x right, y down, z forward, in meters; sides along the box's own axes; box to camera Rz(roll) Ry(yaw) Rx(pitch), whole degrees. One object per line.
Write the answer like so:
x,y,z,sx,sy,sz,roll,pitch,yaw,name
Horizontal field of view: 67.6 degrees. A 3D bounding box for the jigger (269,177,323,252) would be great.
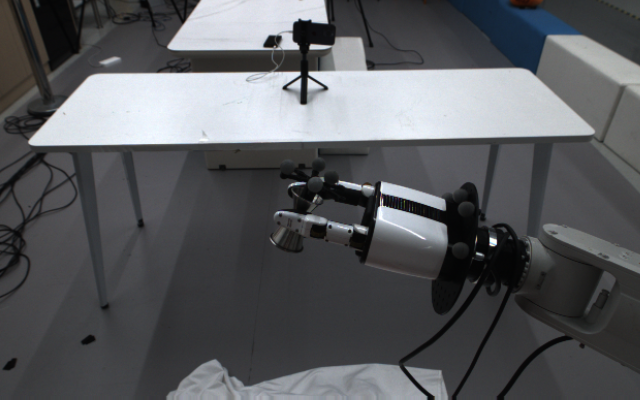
-0.028,0.023,0.573,0.043,0.071,0.043,23,19,-8,jigger
